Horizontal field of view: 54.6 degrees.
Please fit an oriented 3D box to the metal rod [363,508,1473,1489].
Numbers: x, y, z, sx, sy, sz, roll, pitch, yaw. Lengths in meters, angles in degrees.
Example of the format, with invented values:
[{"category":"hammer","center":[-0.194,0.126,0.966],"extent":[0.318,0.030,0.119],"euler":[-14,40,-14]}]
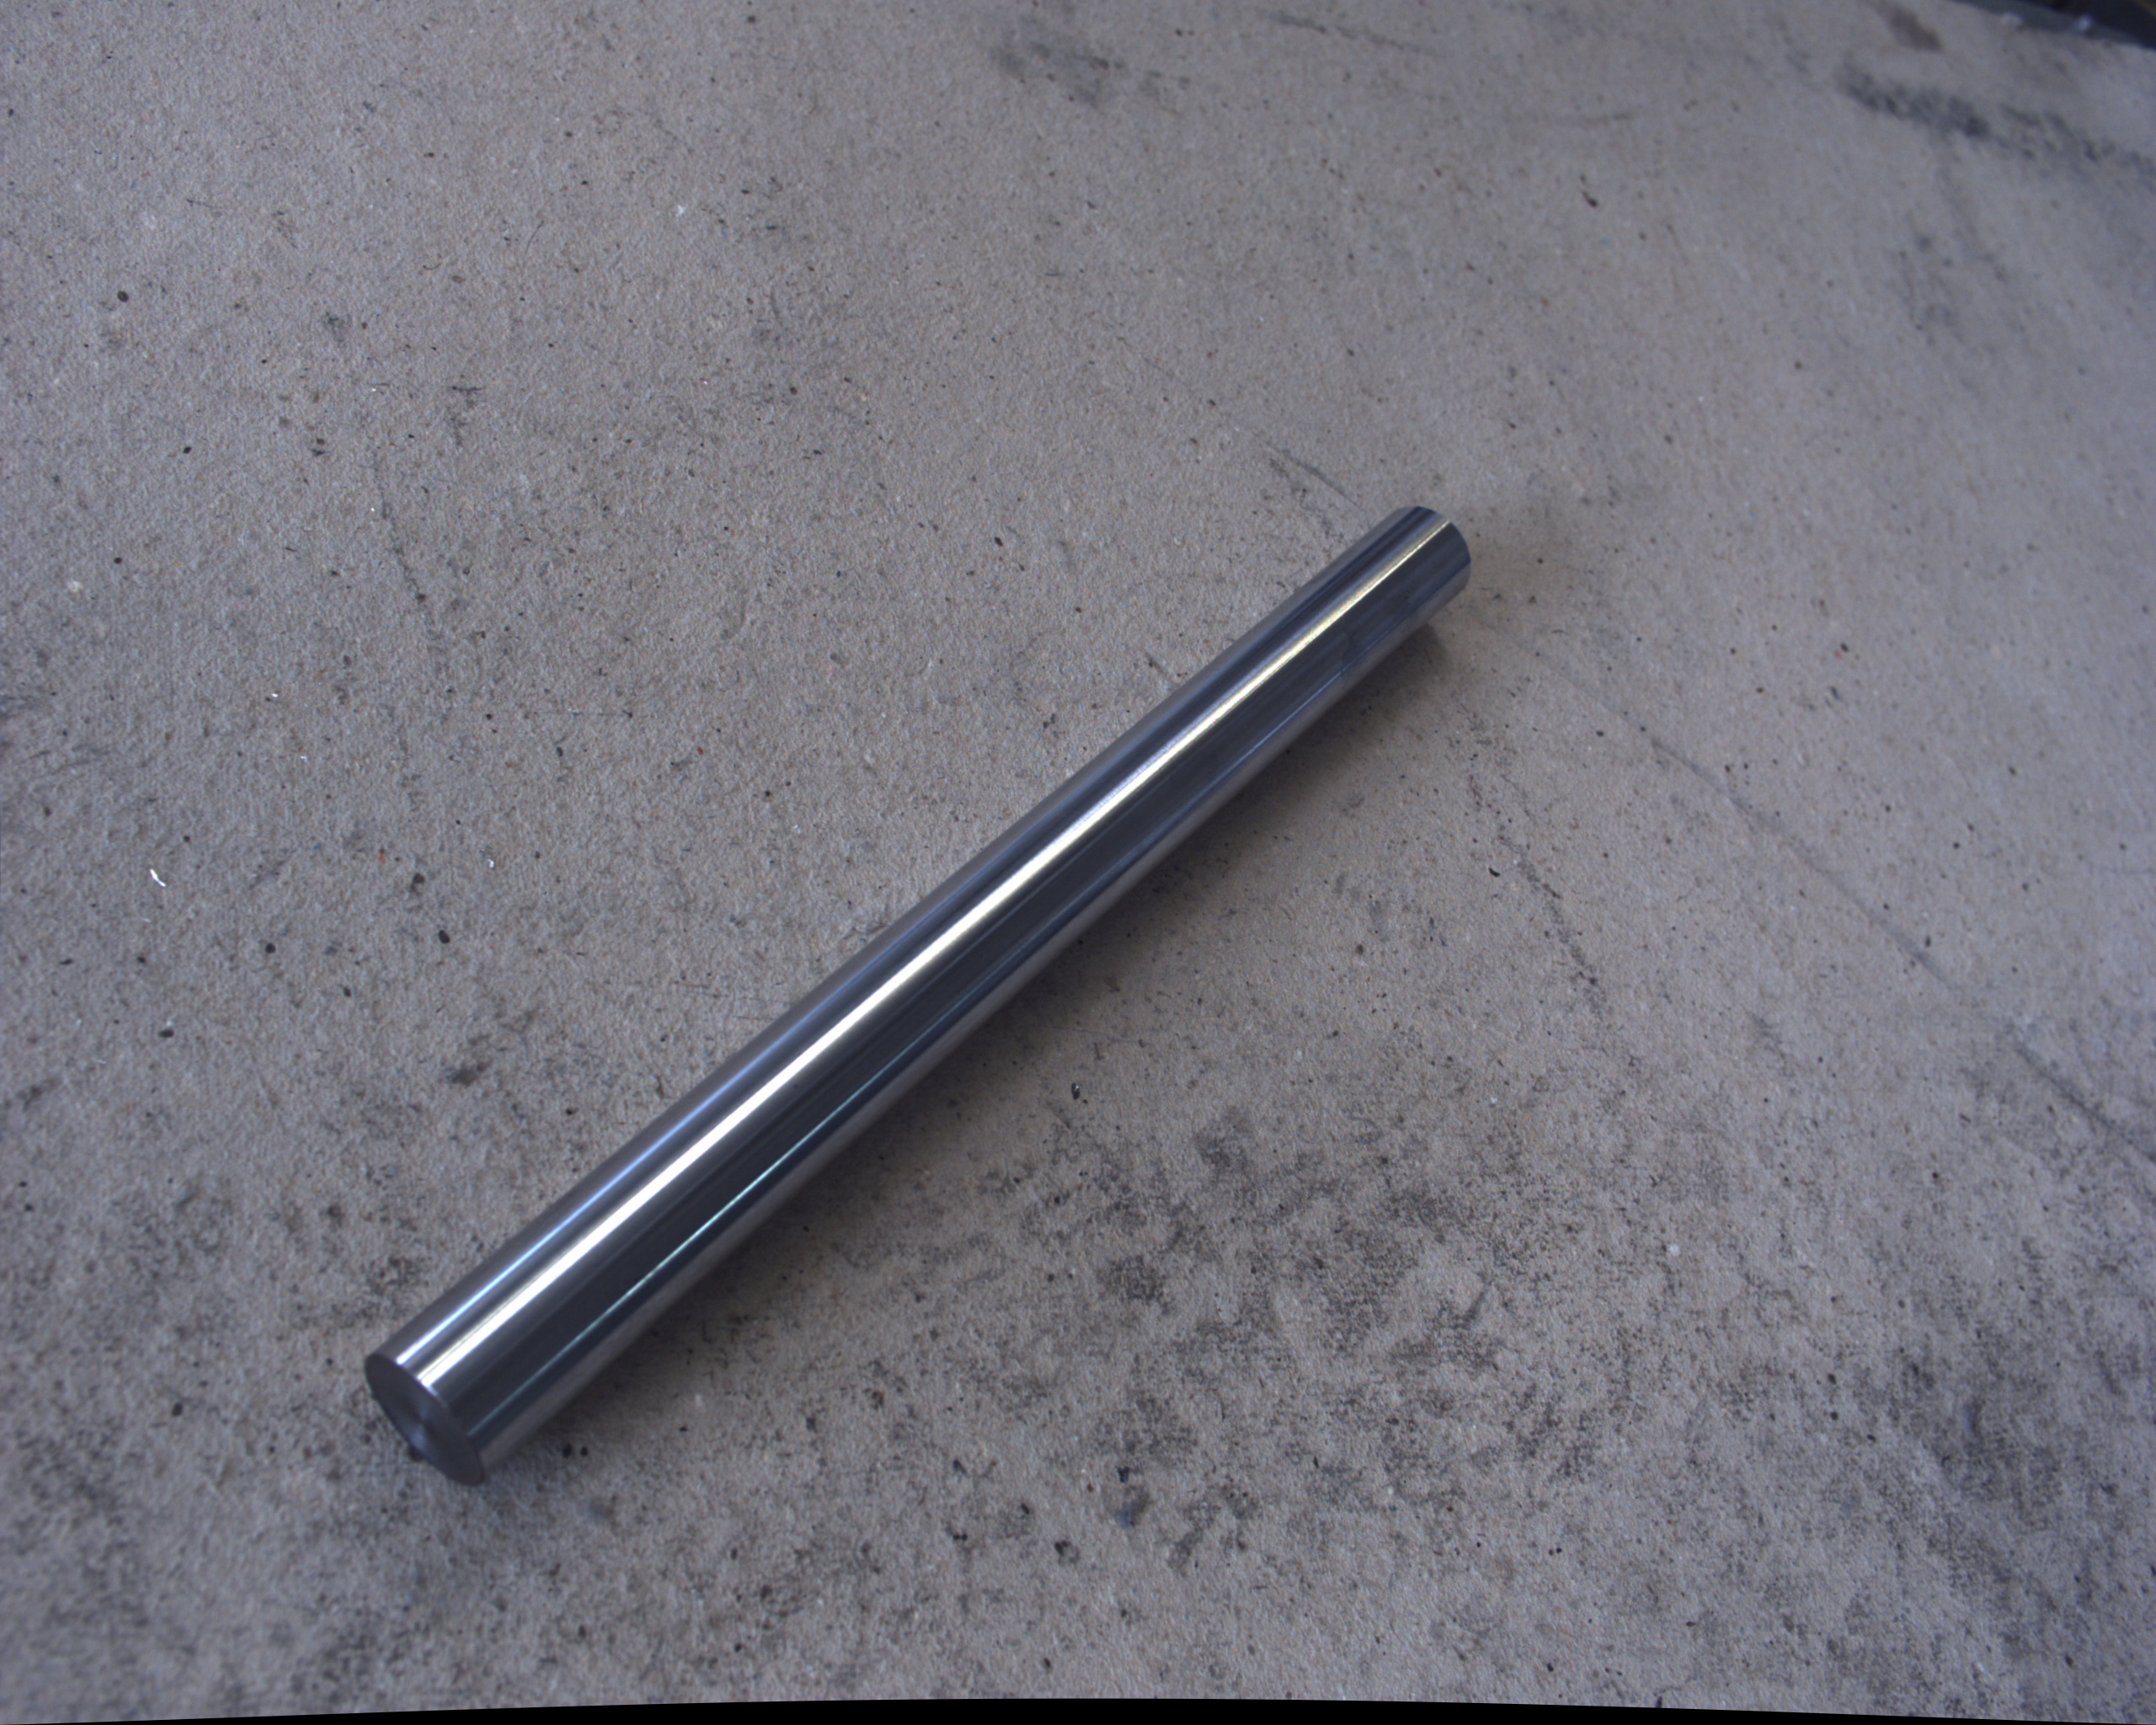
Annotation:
[{"category":"metal rod","center":[-0.007,0.005,0.399],"extent":[0.025,0.025,0.302],"euler":[46,51,4]}]
